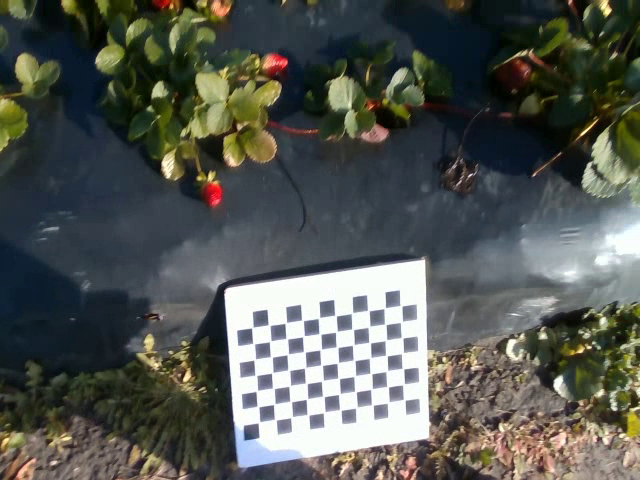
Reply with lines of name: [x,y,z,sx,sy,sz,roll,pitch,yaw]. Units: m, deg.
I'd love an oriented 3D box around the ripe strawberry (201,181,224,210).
ripe strawberry: [-0.121,-0.050,1.585,0.028,0.041,0.031,-31,-35,-3]
